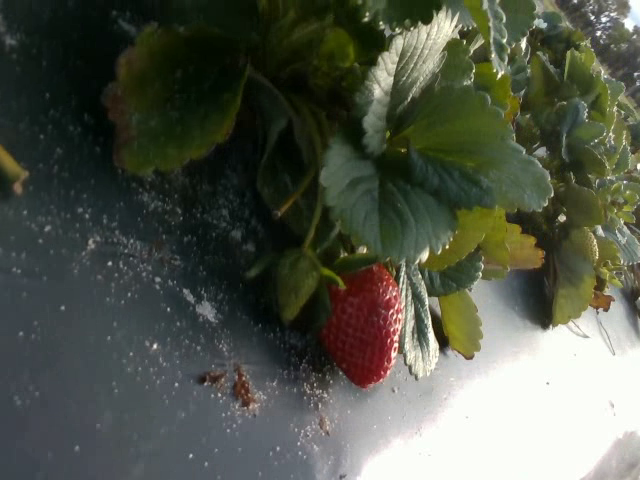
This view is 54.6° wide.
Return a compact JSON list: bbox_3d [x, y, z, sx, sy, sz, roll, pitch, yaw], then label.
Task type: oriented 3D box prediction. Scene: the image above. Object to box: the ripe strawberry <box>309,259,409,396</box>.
[{"bbox_3d":[0.012,0.023,0.152,0.029,0.036,0.021,12,-28,-42],"label":"ripe strawberry"}]
